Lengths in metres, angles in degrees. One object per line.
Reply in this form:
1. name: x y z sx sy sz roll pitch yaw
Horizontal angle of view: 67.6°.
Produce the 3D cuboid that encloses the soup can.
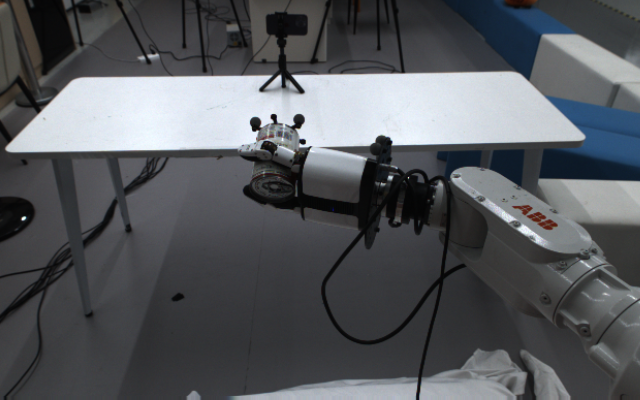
1. soup can: -0.067 -0.056 0.720 0.067 0.067 0.101 3 56 1
